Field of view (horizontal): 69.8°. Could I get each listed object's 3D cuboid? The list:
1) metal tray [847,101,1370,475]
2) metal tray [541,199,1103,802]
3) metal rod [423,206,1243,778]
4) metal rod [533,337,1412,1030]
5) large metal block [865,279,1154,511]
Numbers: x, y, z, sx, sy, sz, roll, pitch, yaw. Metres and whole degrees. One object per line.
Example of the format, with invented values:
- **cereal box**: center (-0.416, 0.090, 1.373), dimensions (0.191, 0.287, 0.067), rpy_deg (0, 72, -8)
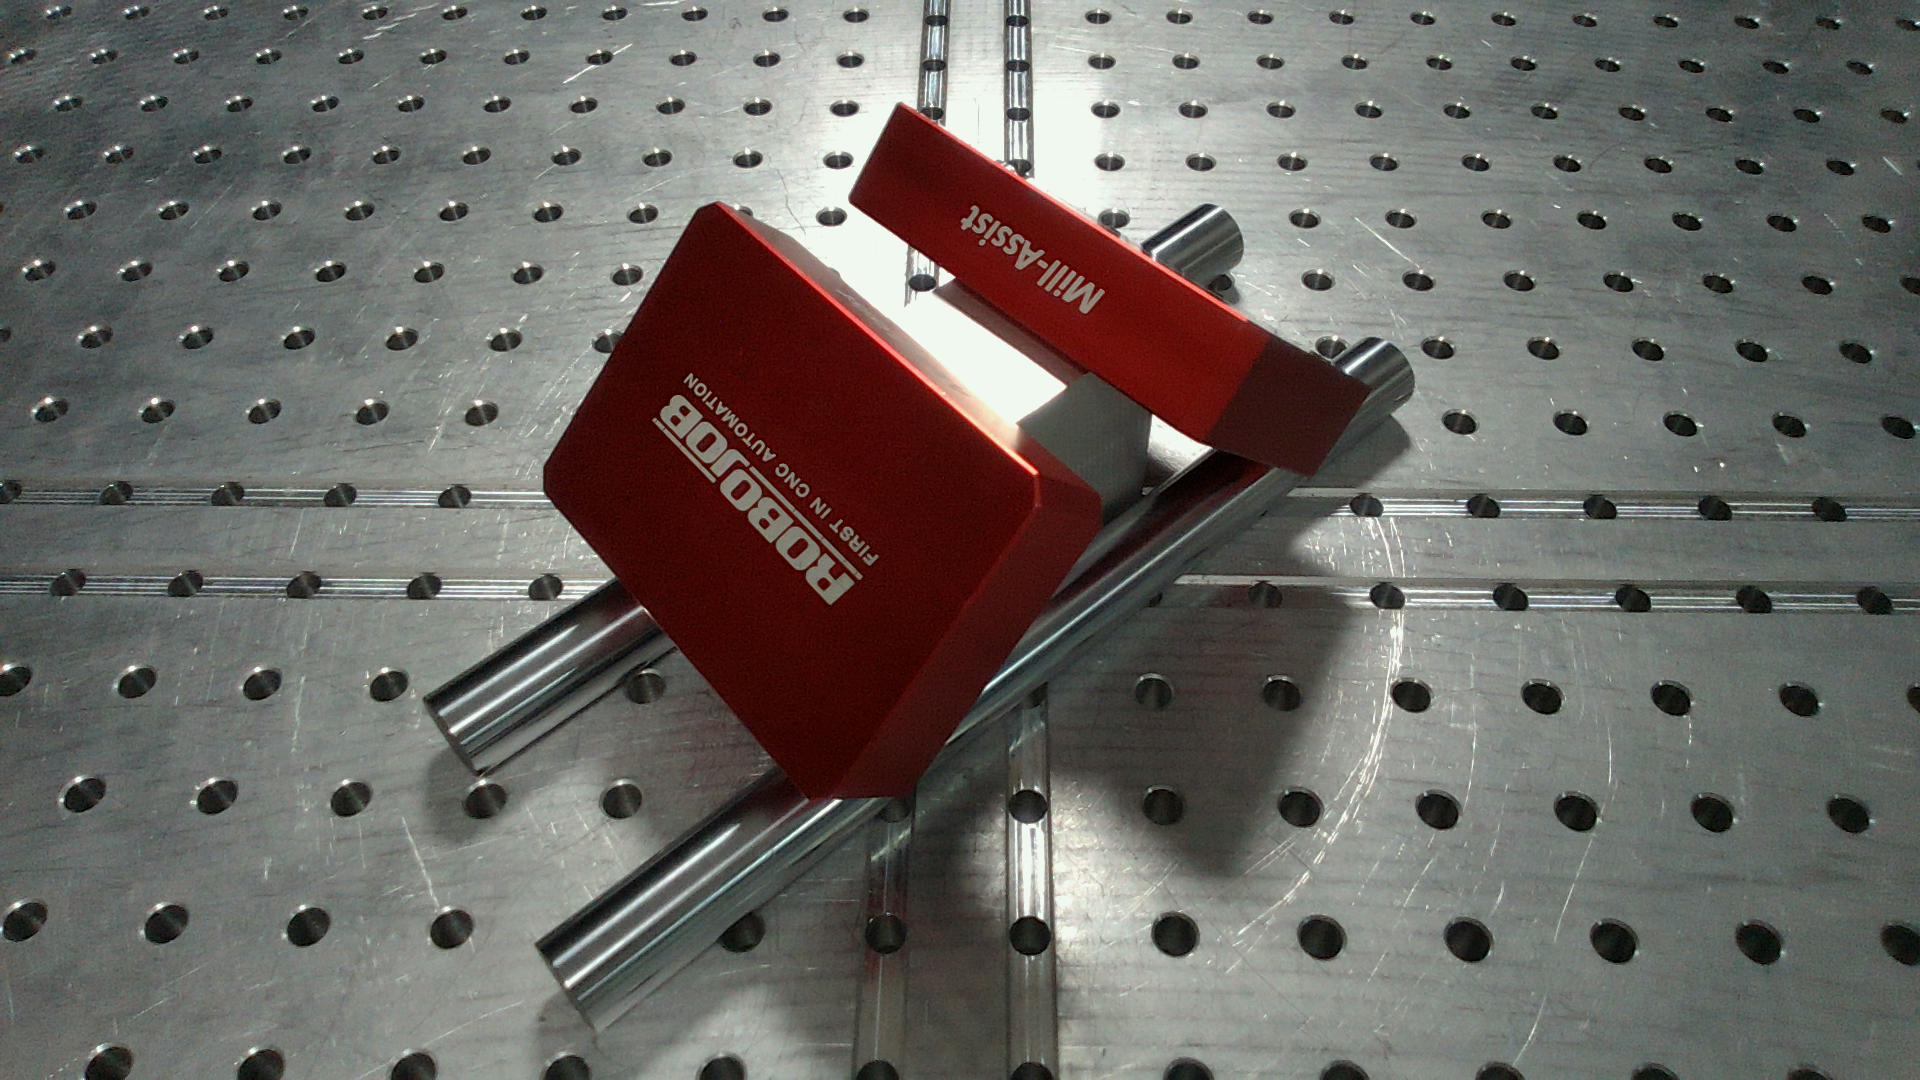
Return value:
- **metal tray**: center (0.041, -0.069, 0.381), dimensions (0.130, 0.030, 0.090), rpy_deg (39, 16, 28)
- **metal tray**: center (-0.039, -0.012, 0.334), dimensions (0.130, 0.030, 0.090), rpy_deg (43, 105, 30)
- **metal rod**: center (-0.020, -0.028, 0.418), dimensions (0.301, 0.025, 0.025), rpy_deg (-35, 58, -26)
- **metal rod**: center (0.022, 0.023, 0.375), dimensions (0.301, 0.025, 0.025), rpy_deg (-35, 58, -26)
- **large metal block**: center (0.007, -0.025, 0.379), dimensions (0.080, 0.080, 0.050), rpy_deg (-35, 58, -26)
